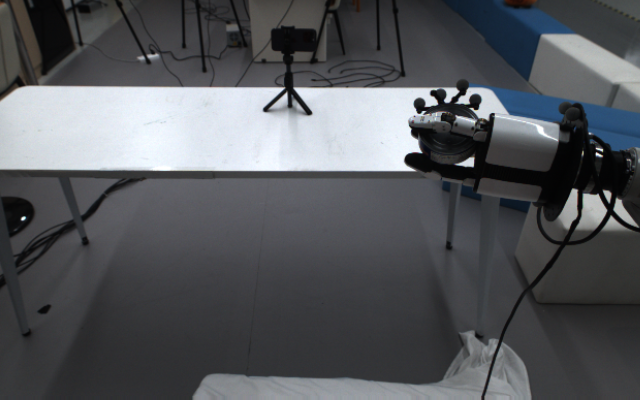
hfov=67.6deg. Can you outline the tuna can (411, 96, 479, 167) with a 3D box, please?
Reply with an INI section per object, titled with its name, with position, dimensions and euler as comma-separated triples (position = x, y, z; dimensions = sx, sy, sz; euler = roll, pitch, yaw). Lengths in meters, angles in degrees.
[tuna can]
position = 0.182, -0.095, 0.690
dimensions = 0.085, 0.034, 0.085
euler = -6, 61, 10
